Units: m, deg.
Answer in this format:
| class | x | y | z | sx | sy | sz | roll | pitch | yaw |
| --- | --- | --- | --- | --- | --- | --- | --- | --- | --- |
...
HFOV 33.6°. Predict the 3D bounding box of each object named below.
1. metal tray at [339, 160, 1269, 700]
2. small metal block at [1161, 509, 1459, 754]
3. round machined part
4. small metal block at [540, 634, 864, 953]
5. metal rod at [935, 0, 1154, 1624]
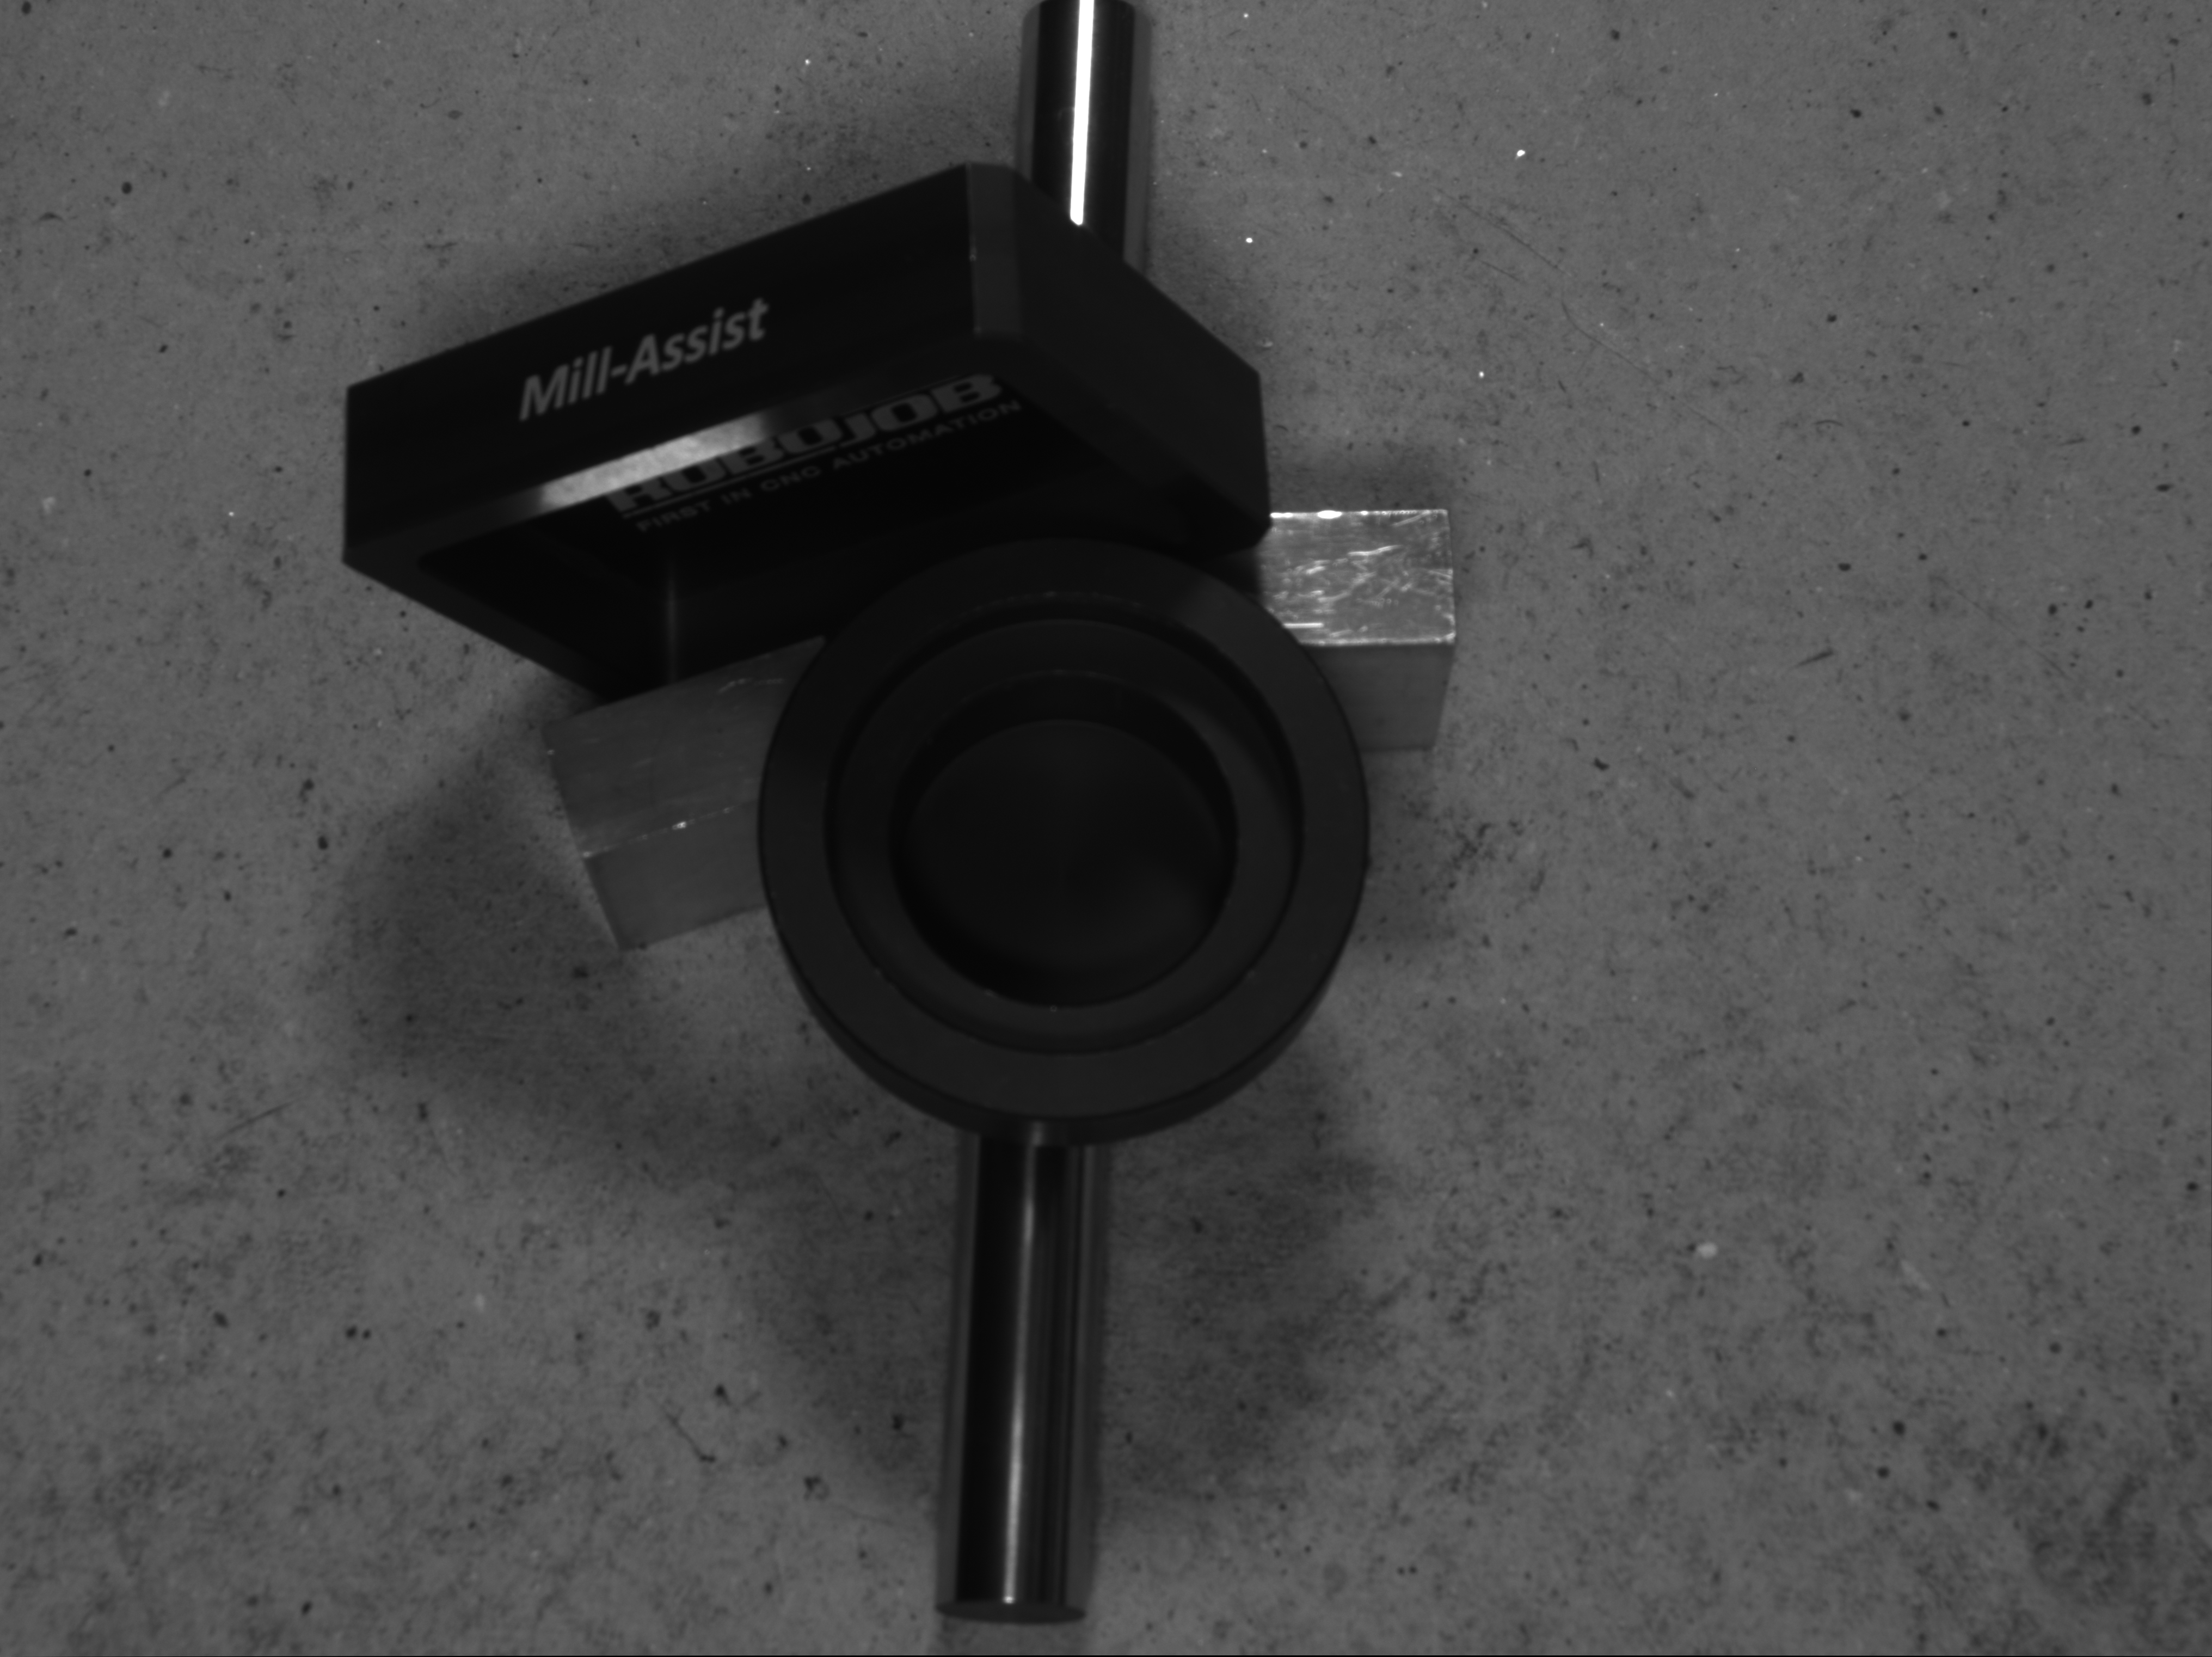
| class | x | y | z | sx | sy | sz | roll | pitch | yaw |
| --- | --- | --- | --- | --- | --- | --- | --- | --- | --- |
| metal tray | -0.050 | -0.060 | 0.608 | 0.130 | 0.090 | 0.030 | -15 | 66 | 26 |
| small metal block | 0.034 | -0.033 | 0.644 | 0.050 | 0.050 | 0.025 | -1 | 70 | 0 |
| round machined part | -0.007 | 0.004 | 0.605 | 0.098 | 0.042 | 0.098 | 1 | 73 | -2 |
| small metal block | -0.067 | -0.005 | 0.633 | 0.050 | 0.050 | 0.025 | -18 | 71 | -6 |
| metal rod | -0.009 | -0.013 | 0.650 | 0.025 | 0.025 | 0.300 | 2 | 70 | 1 |
